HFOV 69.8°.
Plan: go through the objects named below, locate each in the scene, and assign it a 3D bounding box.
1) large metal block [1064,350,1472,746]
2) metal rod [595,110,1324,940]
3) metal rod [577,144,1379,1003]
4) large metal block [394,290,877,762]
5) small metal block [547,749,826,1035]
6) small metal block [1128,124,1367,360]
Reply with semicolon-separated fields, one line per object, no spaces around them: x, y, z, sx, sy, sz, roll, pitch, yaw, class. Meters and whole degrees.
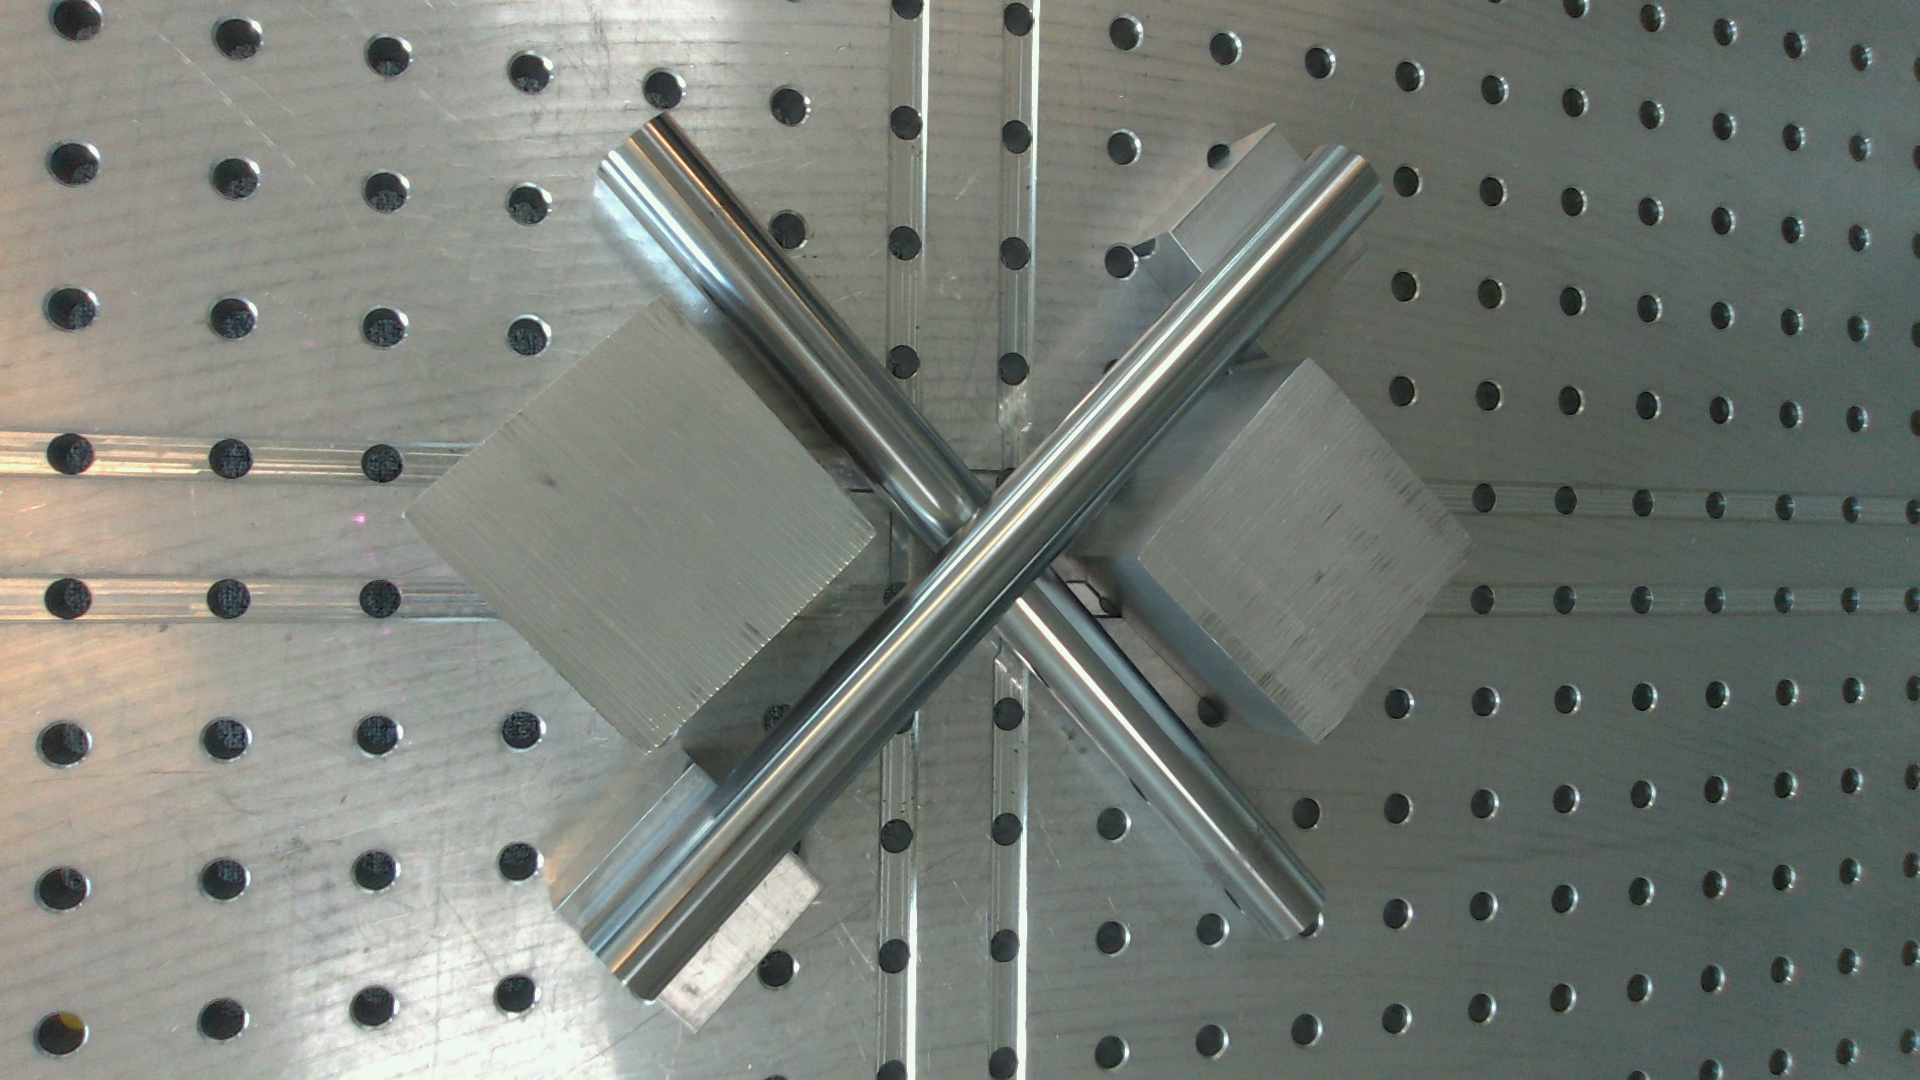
0.092;0.002;0.416;0.080;0.050;0.080;45;76;-15;large metal block
0.009;0.005;0.398;0.025;0.025;0.300;-44;104;-14;metal rod
0.015;-0.001;0.374;0.025;0.025;0.300;47;76;-14;metal rod
-0.083;-0.004;0.353;0.080;0.050;0.080;-45;104;-14;large metal block
-0.074;0.093;0.369;0.050;0.025;0.050;46;76;-14;small metal block
0.090;-0.091;0.429;0.050;0.025;0.050;-46;104;-14;small metal block
